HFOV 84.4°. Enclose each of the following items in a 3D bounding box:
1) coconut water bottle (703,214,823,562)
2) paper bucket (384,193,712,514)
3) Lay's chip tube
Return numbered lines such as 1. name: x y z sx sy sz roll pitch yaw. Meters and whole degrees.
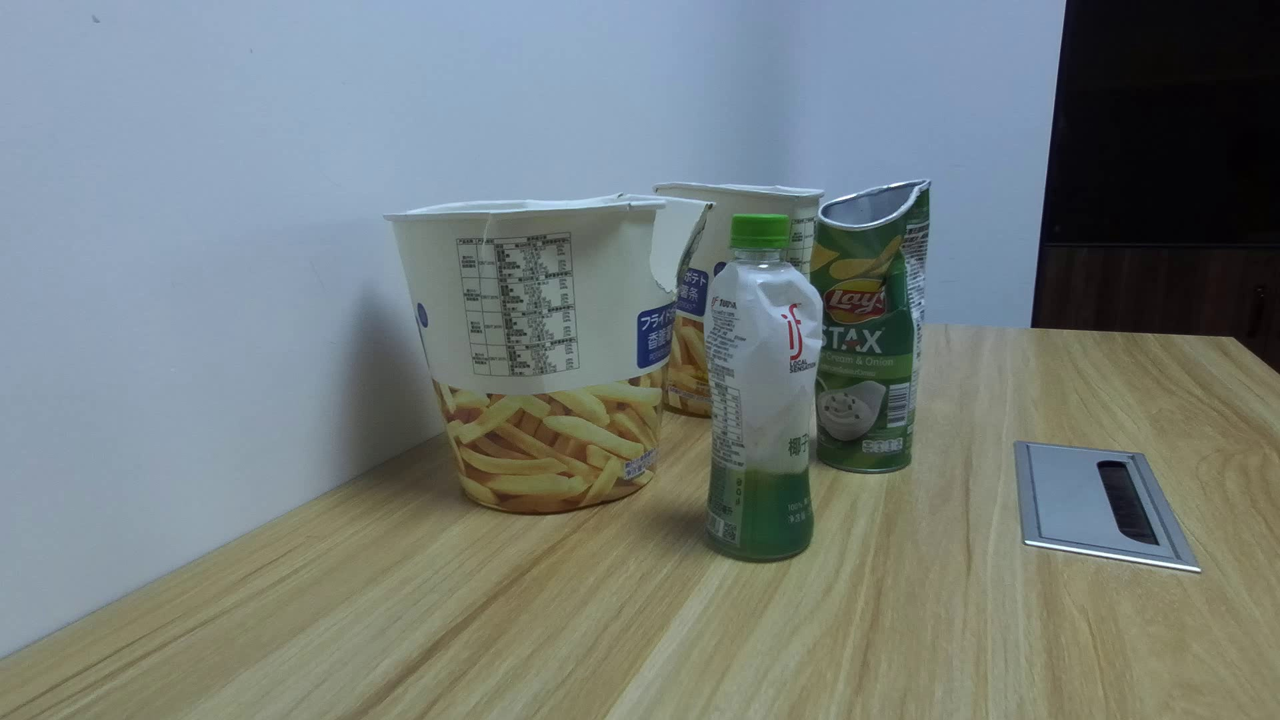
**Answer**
1. coconut water bottle: 0.068 0.014 0.395 0.067 0.187 0.067 -2 15 1
2. paper bucket: -0.059 -0.012 0.500 0.203 0.197 0.145 -8 18 -17
3. Lay's chip tube: 0.159 -0.018 0.492 0.079 0.199 0.071 -1 23 12
